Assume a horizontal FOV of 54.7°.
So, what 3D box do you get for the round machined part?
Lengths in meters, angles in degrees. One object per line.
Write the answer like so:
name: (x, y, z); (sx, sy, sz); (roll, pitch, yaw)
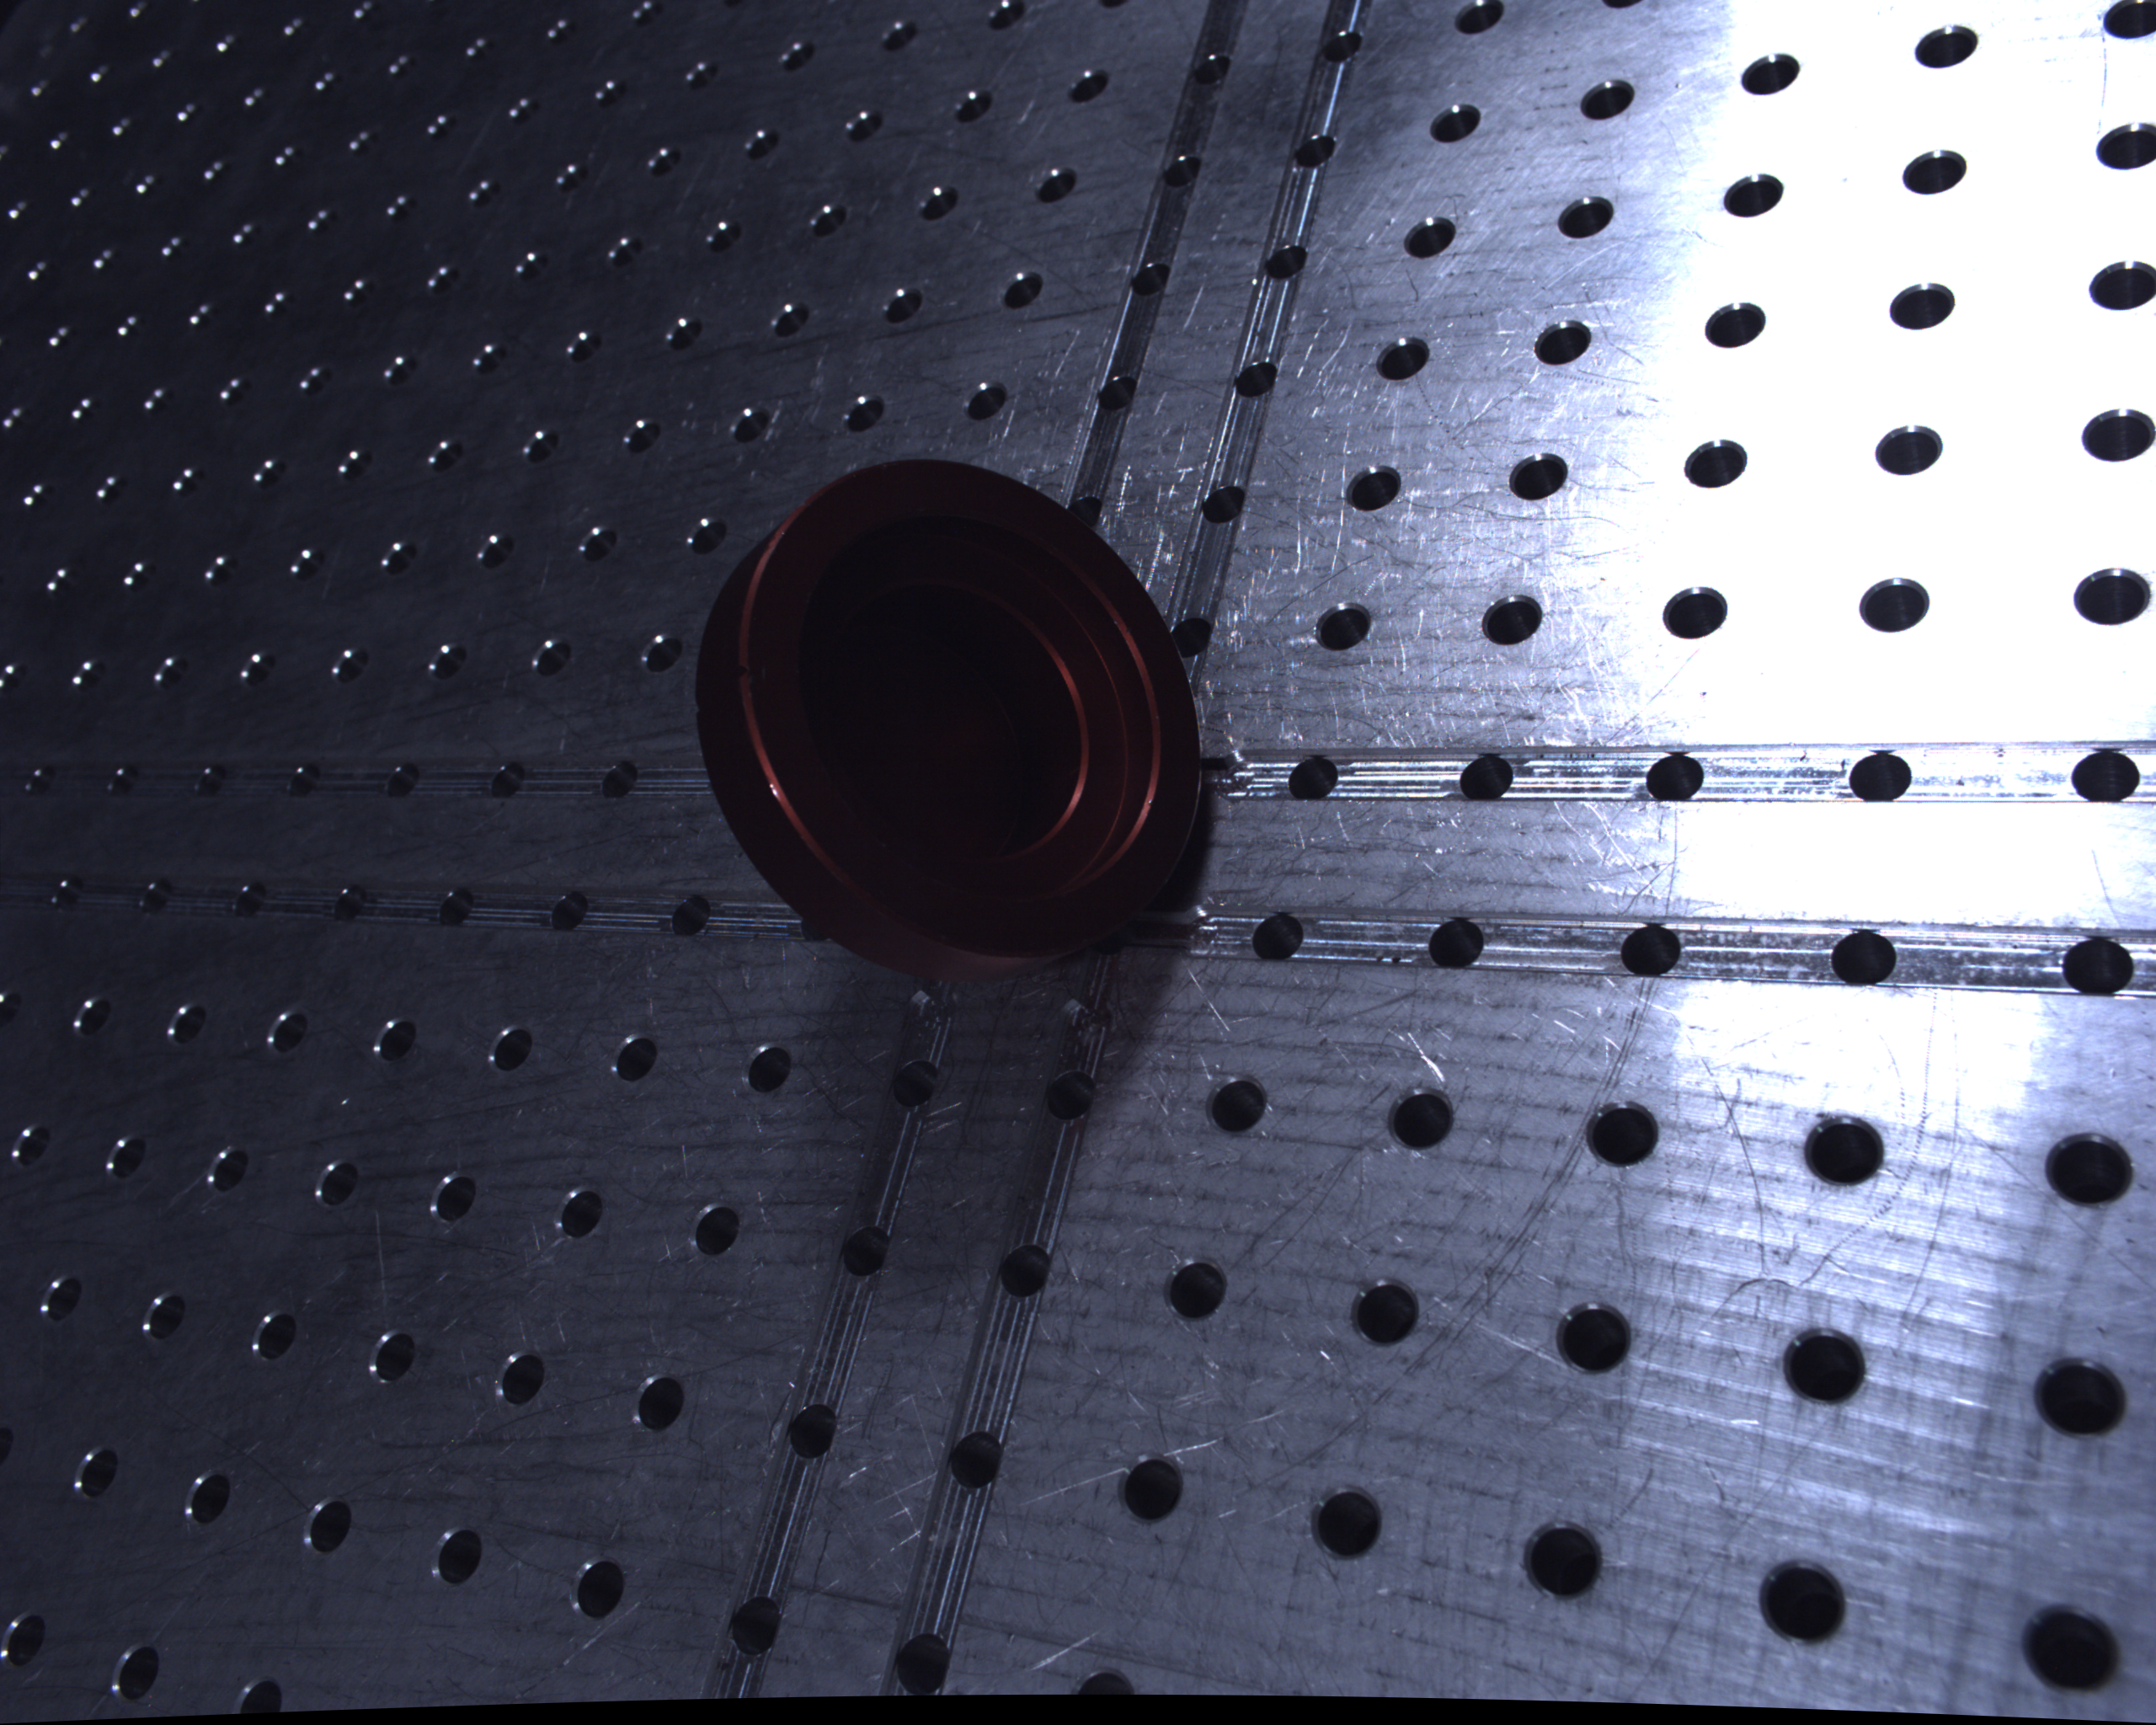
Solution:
round machined part: (-0.028, -0.025, 0.401); (0.042, 0.099, 0.098); (-27, 44, 52)
